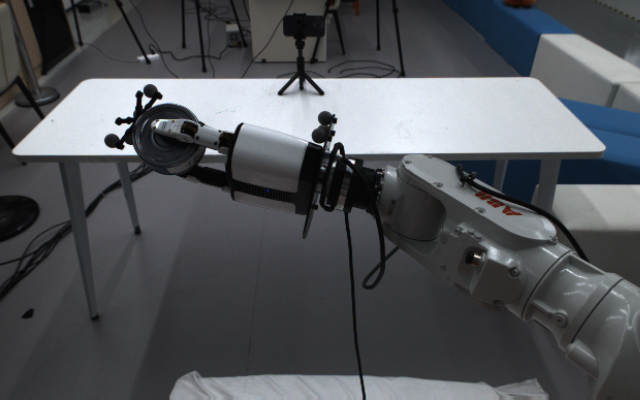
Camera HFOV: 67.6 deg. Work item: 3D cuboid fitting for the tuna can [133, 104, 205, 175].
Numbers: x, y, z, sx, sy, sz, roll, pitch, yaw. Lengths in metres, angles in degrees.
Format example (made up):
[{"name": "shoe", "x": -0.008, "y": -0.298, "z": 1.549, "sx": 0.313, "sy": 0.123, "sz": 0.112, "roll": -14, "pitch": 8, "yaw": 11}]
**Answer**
[{"name": "tuna can", "x": -0.186, "y": -0.076, "z": 0.610, "sx": 0.085, "sy": 0.034, "sz": 0.085, "roll": 1, "pitch": 78, "yaw": -6}]
